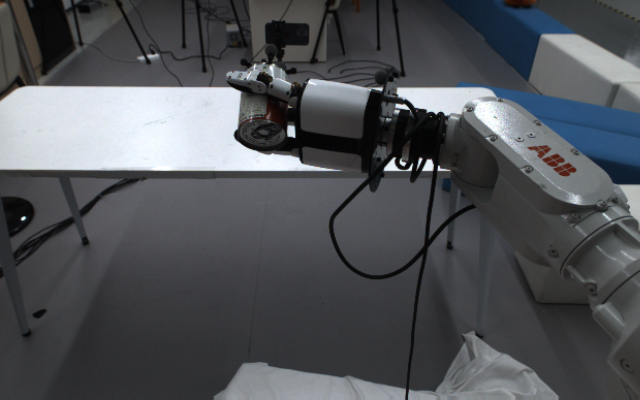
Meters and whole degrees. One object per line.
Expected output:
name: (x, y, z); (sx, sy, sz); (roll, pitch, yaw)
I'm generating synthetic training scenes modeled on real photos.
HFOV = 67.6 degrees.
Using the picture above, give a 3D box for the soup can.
soup can: (-0.077, -0.127, 0.659); (0.067, 0.067, 0.101); (1, 61, -2)
